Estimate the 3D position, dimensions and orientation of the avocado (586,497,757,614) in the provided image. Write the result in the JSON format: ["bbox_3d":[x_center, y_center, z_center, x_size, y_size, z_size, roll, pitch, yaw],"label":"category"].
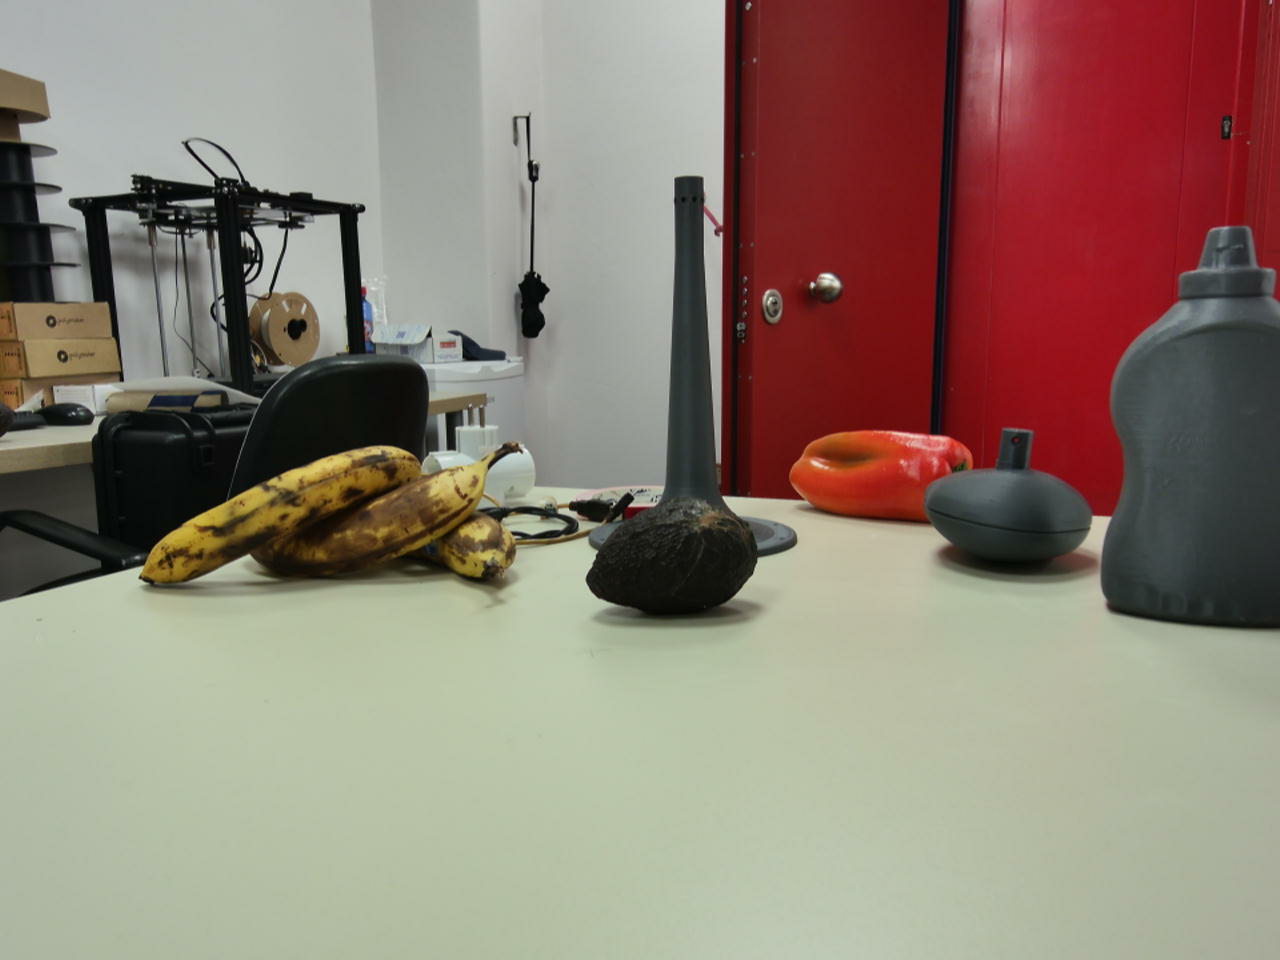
[{"bbox_3d":[0.017,0.041,0.545,0.092,0.062,0.062,1,6,0],"label":"avocado"}]
